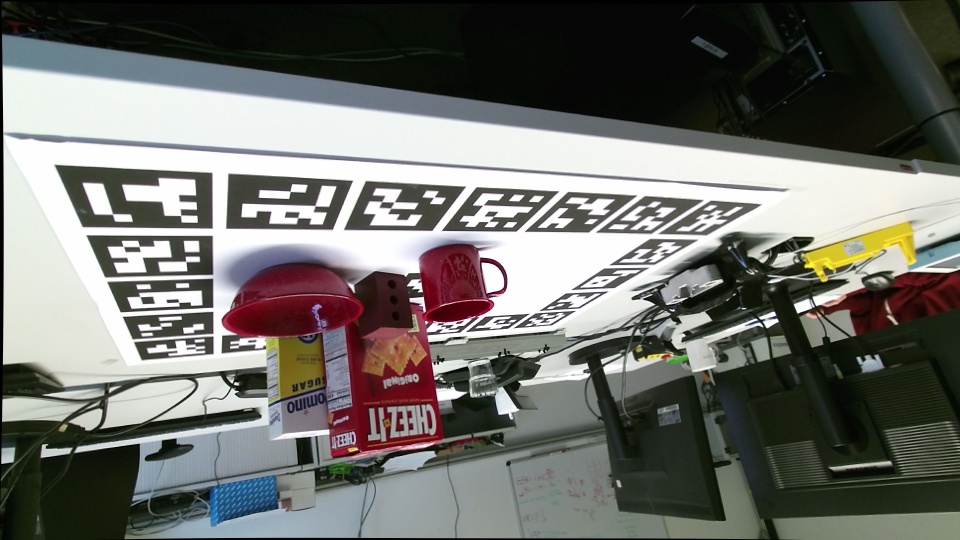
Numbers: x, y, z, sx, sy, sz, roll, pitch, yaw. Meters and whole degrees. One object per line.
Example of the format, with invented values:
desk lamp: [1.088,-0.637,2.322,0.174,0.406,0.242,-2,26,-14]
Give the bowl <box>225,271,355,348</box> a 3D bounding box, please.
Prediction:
bowl: [-0.225,0.044,0.644,0.162,0.055,0.162,-11,158,-4]

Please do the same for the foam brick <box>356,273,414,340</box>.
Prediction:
foam brick: [-0.129,0.051,0.727,0.053,0.077,0.051,6,153,-42]

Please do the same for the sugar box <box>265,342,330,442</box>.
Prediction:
sugar box: [-0.250,0.149,0.757,0.045,0.175,0.093,-29,155,36]

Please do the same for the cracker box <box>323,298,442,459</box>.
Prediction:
cracker box: [-0.142,0.157,0.791,0.072,0.212,0.165,-23,157,30]

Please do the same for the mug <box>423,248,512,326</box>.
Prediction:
mug: [-0.016,0.020,0.685,0.117,0.081,0.093,-7,167,-20]
